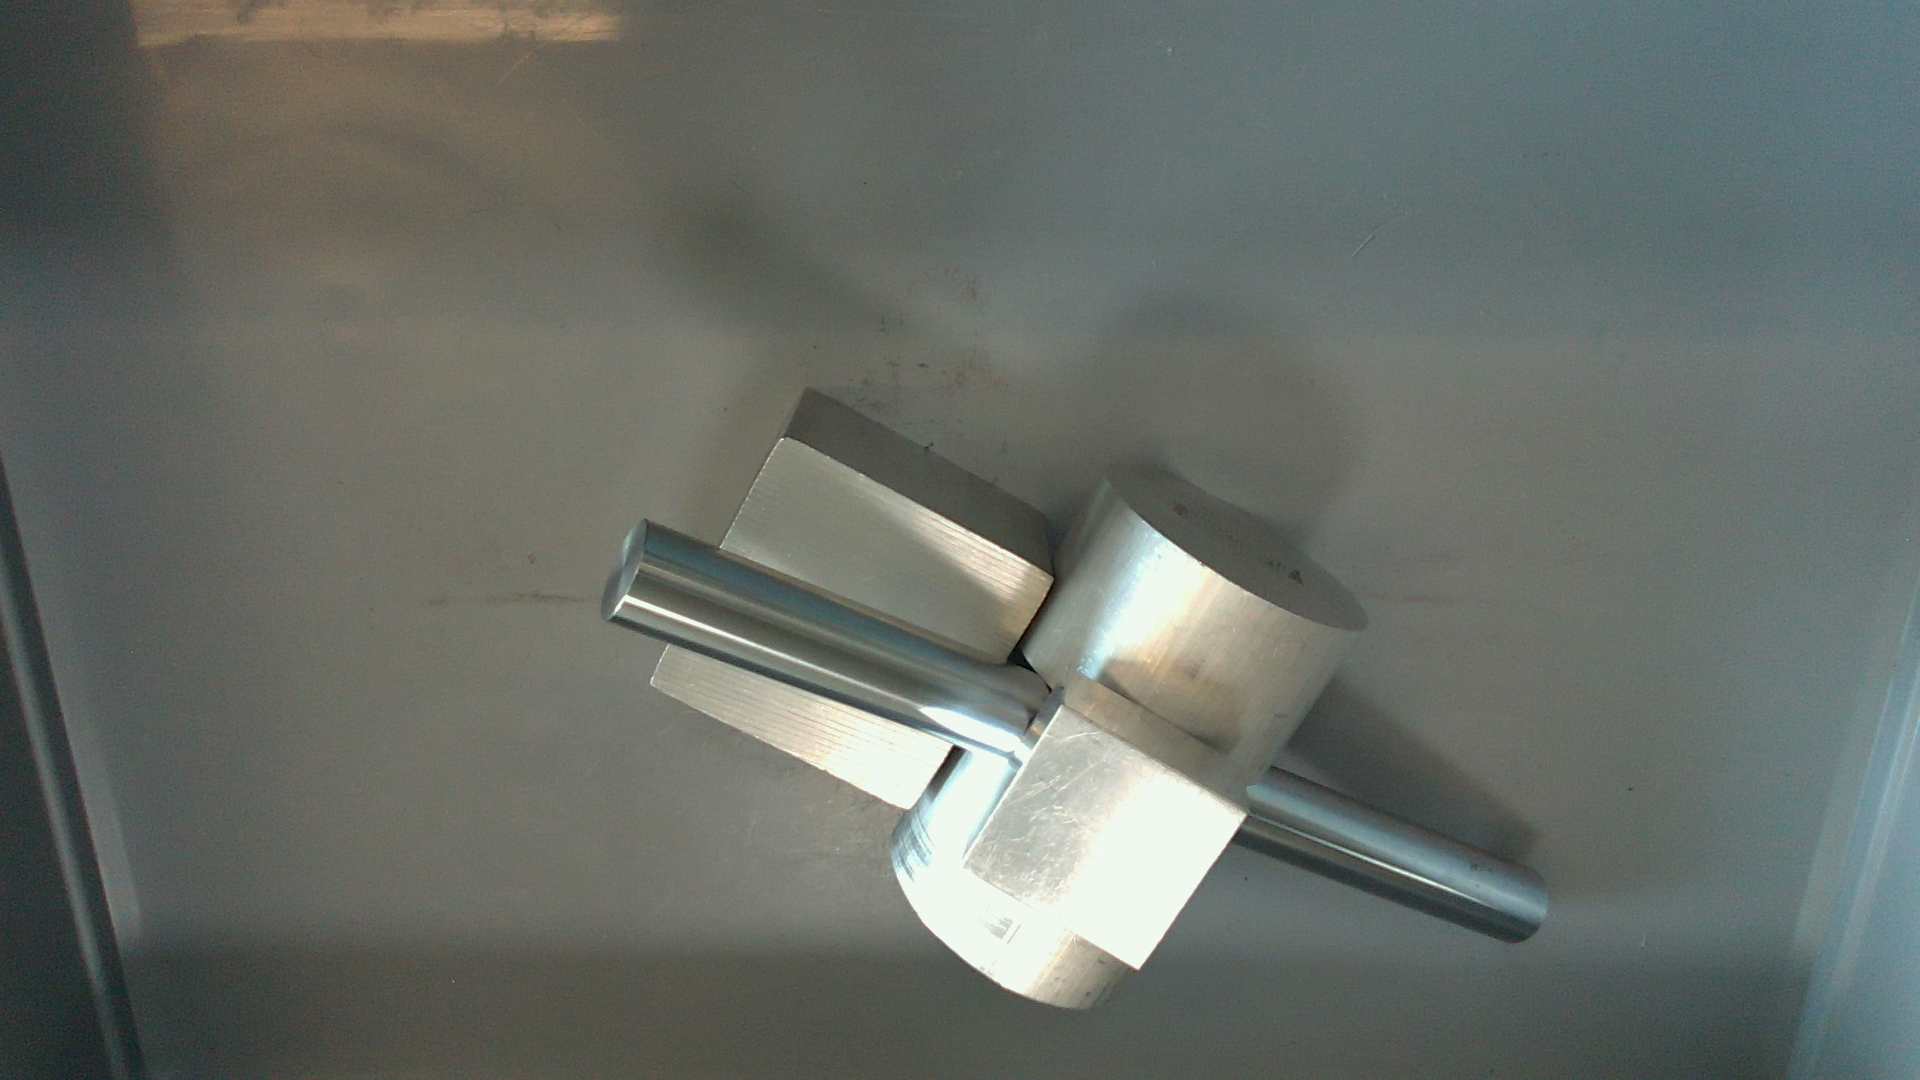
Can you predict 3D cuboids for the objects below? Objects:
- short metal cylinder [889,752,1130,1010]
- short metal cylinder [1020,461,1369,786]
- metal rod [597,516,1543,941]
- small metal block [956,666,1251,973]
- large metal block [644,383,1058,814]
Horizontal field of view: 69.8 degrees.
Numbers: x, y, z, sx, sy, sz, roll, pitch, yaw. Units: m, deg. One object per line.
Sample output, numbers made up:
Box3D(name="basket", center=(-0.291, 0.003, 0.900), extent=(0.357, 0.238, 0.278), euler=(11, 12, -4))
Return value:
Box3D(name="short metal cylinder", center=(0.027, 0.086, 0.395), extent=(0.080, 0.080, 0.050), euler=(28, 108, -10))
Box3D(name="short metal cylinder", center=(0.062, 0.021, 0.372), extent=(0.080, 0.080, 0.050), euler=(26, 108, -9))
Box3D(name="metal rod", center=(0.049, 0.060, 0.373), extent=(0.301, 0.025, 0.025), euler=(23, 109, -25))
Box3D(name="small metal block", center=(0.035, 0.067, 0.334), extent=(0.050, 0.025, 0.050), euler=(30, 108, -2))
Box3D(name="large metal block", center=(-0.029, 0.016, 0.383), extent=(0.080, 0.050, 0.080), euler=(28, 108, -10))
